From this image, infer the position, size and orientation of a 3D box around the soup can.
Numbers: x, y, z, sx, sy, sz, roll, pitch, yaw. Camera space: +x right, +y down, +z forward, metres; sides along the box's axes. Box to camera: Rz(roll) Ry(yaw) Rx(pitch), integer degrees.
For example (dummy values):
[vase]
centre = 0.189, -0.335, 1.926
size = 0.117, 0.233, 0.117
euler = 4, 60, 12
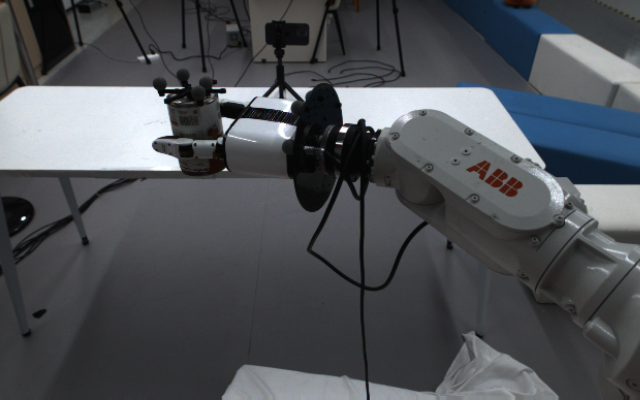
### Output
[soup can]
centre = -0.162, -0.090, 0.649
size = 0.067, 0.101, 0.067
euler = -1, 32, 1
